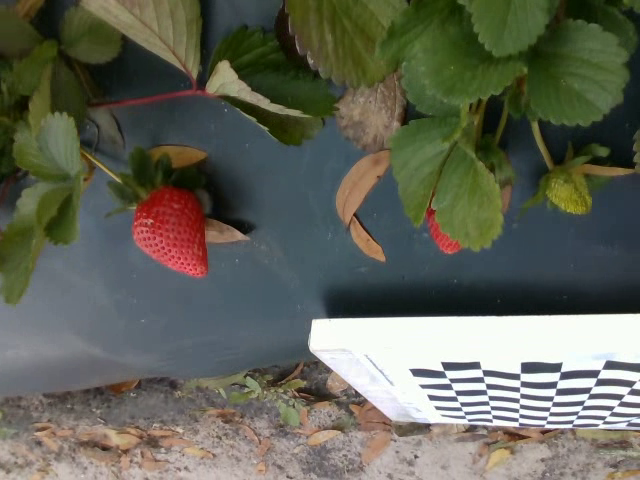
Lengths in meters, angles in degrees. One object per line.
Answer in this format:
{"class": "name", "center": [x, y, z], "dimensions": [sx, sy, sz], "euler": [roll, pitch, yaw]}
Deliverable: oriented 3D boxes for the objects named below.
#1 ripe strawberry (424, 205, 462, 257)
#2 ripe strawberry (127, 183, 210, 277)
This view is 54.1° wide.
{"class": "ripe strawberry", "center": [0.069, -0.007, 0.321], "dimensions": [0.040, 0.042, 0.037], "euler": [0, 18, 6]}
{"class": "ripe strawberry", "center": [-0.080, 0.001, 0.358], "dimensions": [0.042, 0.065, 0.047], "euler": [-38, -24, -4]}
